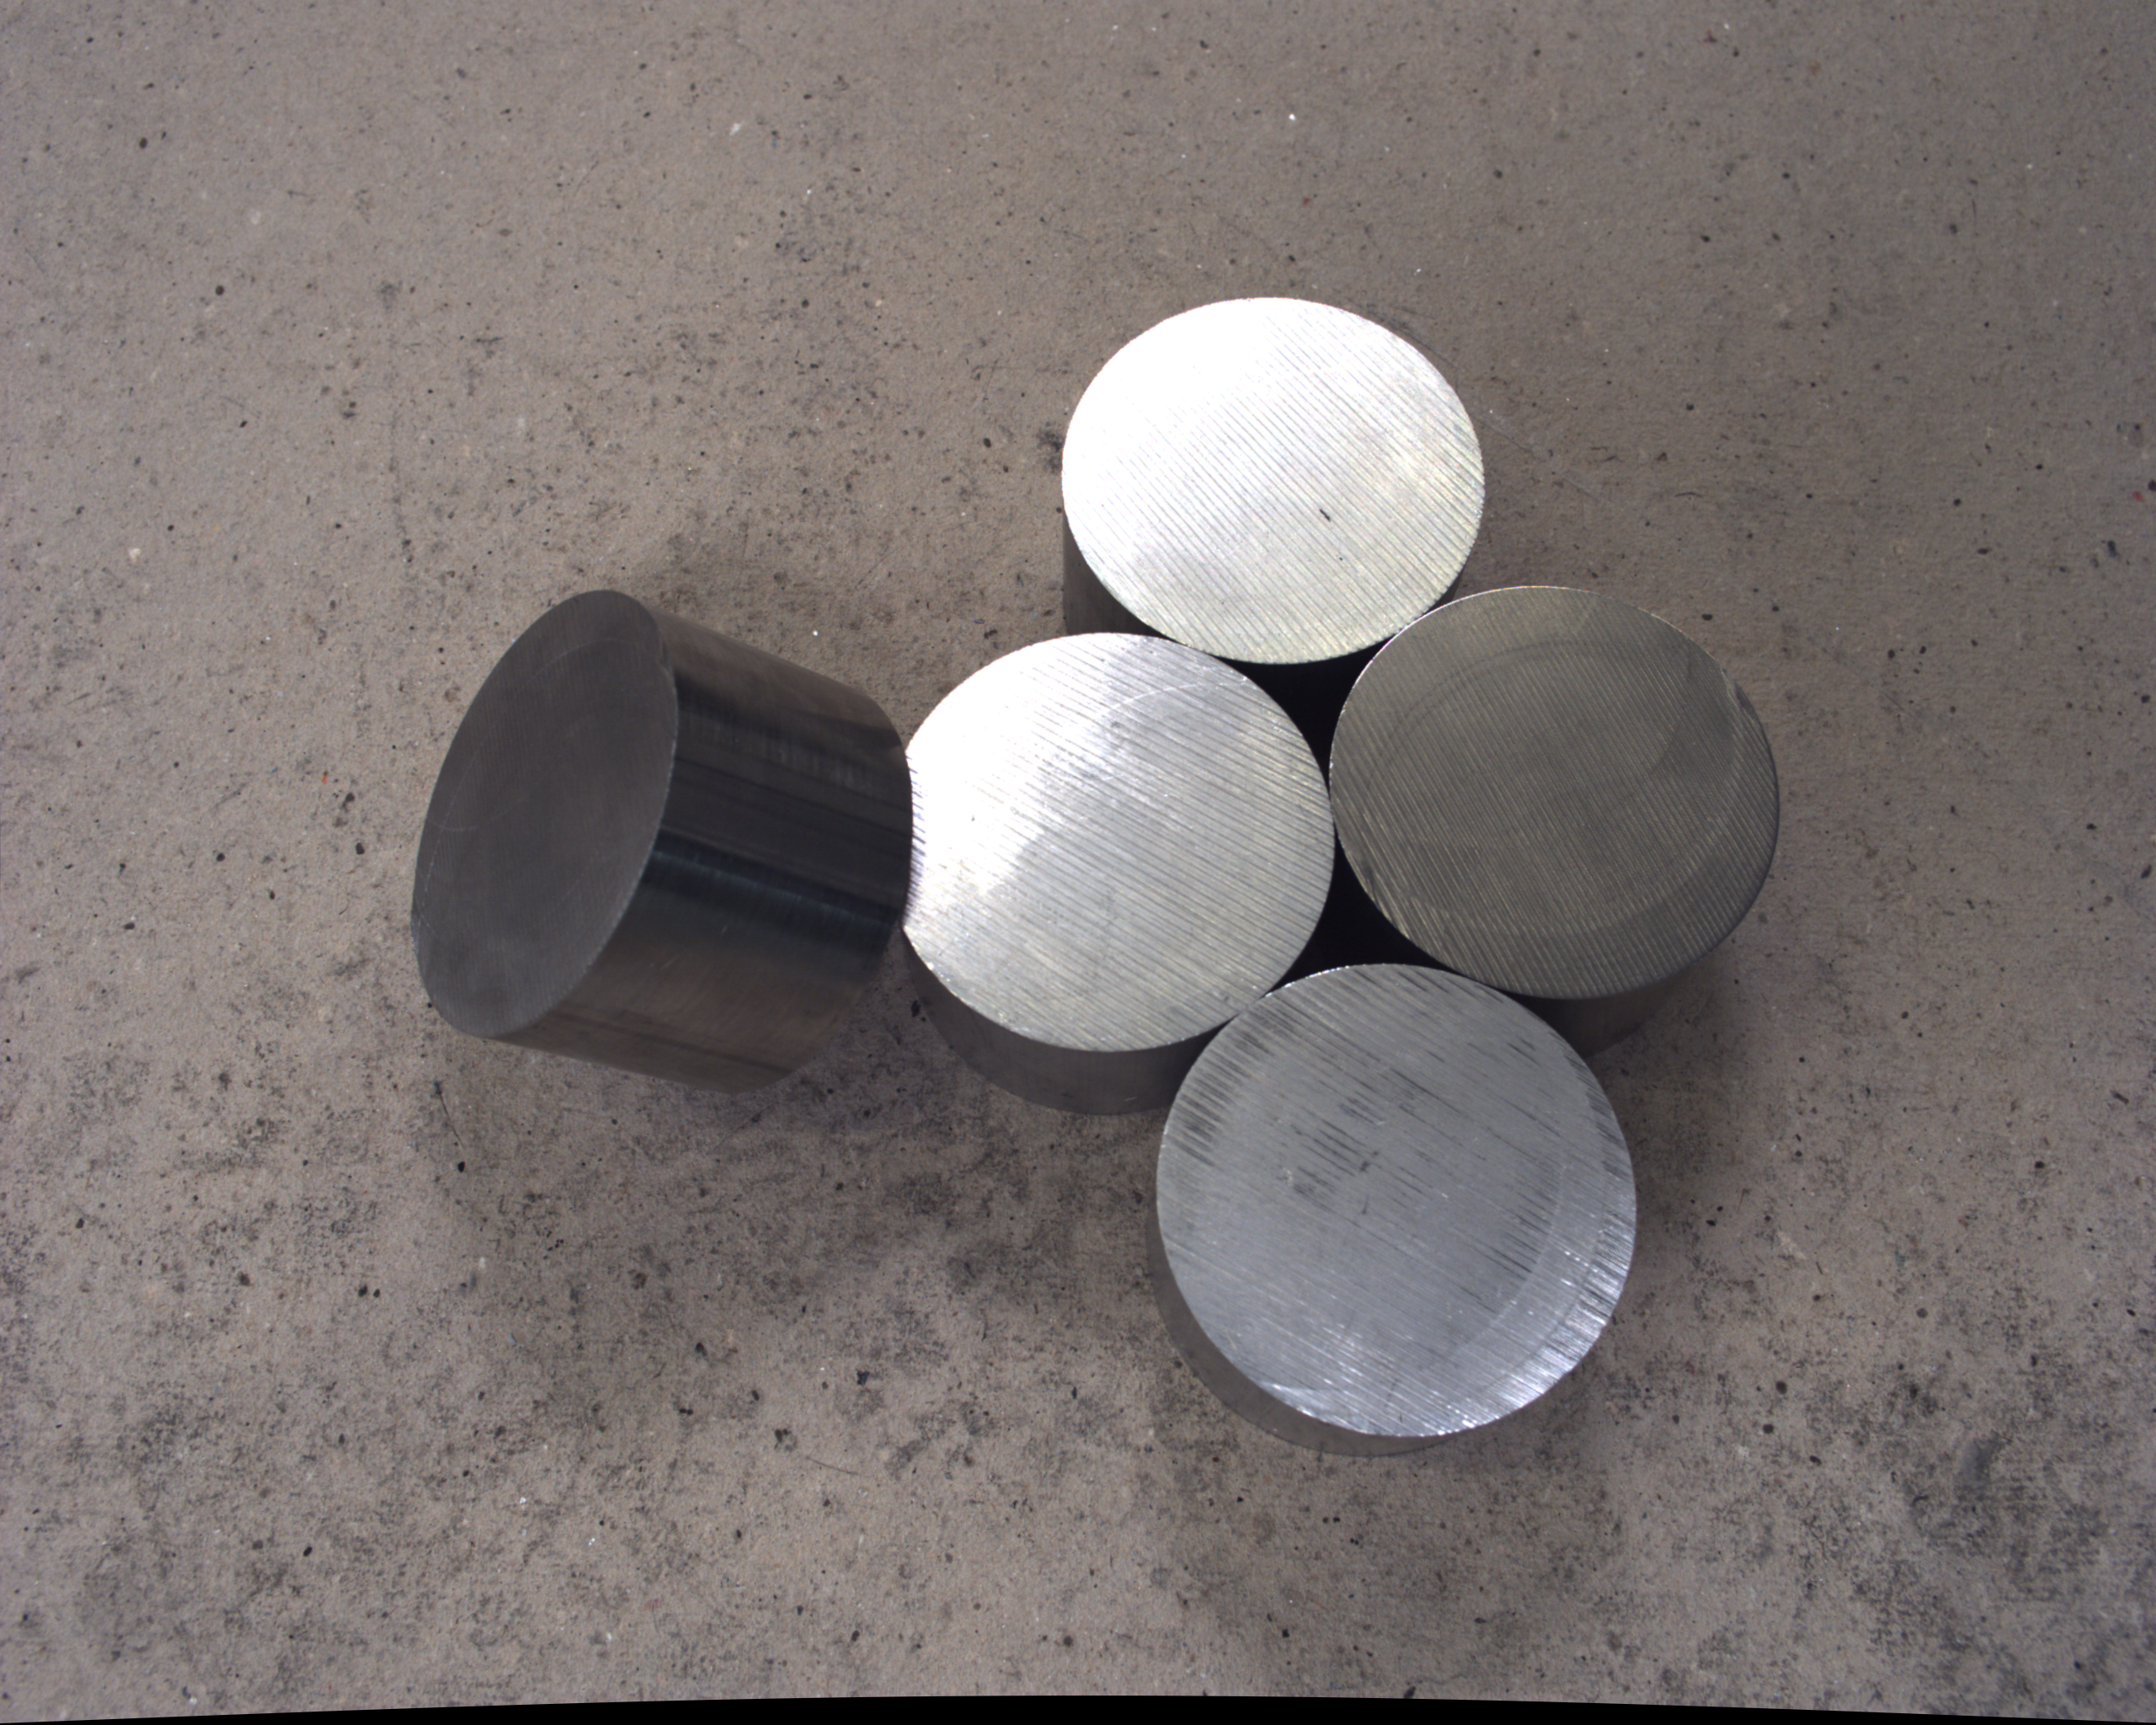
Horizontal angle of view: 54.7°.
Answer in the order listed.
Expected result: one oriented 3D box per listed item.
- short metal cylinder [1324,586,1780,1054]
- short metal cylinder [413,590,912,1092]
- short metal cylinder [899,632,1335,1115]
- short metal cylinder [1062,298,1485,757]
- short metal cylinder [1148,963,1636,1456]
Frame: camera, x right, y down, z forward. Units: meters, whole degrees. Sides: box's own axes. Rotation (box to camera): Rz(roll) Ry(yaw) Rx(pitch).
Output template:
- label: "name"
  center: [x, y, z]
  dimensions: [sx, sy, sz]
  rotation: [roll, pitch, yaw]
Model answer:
- label: "short metal cylinder"
  center: [0.086, -0.006, 0.399]
  dimensions: [0.081, 0.050, 0.080]
  rotation: [0, 70, 0]
- label: "short metal cylinder"
  center: [-0.076, -0.003, 0.375]
  dimensions: [0.080, 0.050, 0.080]
  rotation: [-20, 61, 40]
- label: "short metal cylinder"
  center: [0.005, 0.003, 0.395]
  dimensions: [0.081, 0.050, 0.080]
  rotation: [0, 70, 0]
- label: "short metal cylinder"
  center: [0.037, -0.065, 0.420]
  dimensions: [0.081, 0.050, 0.080]
  rotation: [0, 70, 0]
- label: "short metal cylinder"
  center: [0.053, 0.063, 0.373]
  dimensions: [0.081, 0.050, 0.080]
  rotation: [0, 70, 0]
